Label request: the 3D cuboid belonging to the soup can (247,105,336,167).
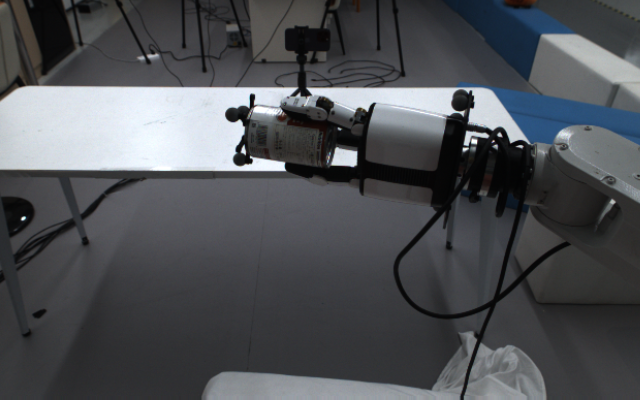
[{"bbox_3d":[-0.032,-0.079,0.599,0.101,0.067,0.067,9,35,9],"label":"soup can"}]
